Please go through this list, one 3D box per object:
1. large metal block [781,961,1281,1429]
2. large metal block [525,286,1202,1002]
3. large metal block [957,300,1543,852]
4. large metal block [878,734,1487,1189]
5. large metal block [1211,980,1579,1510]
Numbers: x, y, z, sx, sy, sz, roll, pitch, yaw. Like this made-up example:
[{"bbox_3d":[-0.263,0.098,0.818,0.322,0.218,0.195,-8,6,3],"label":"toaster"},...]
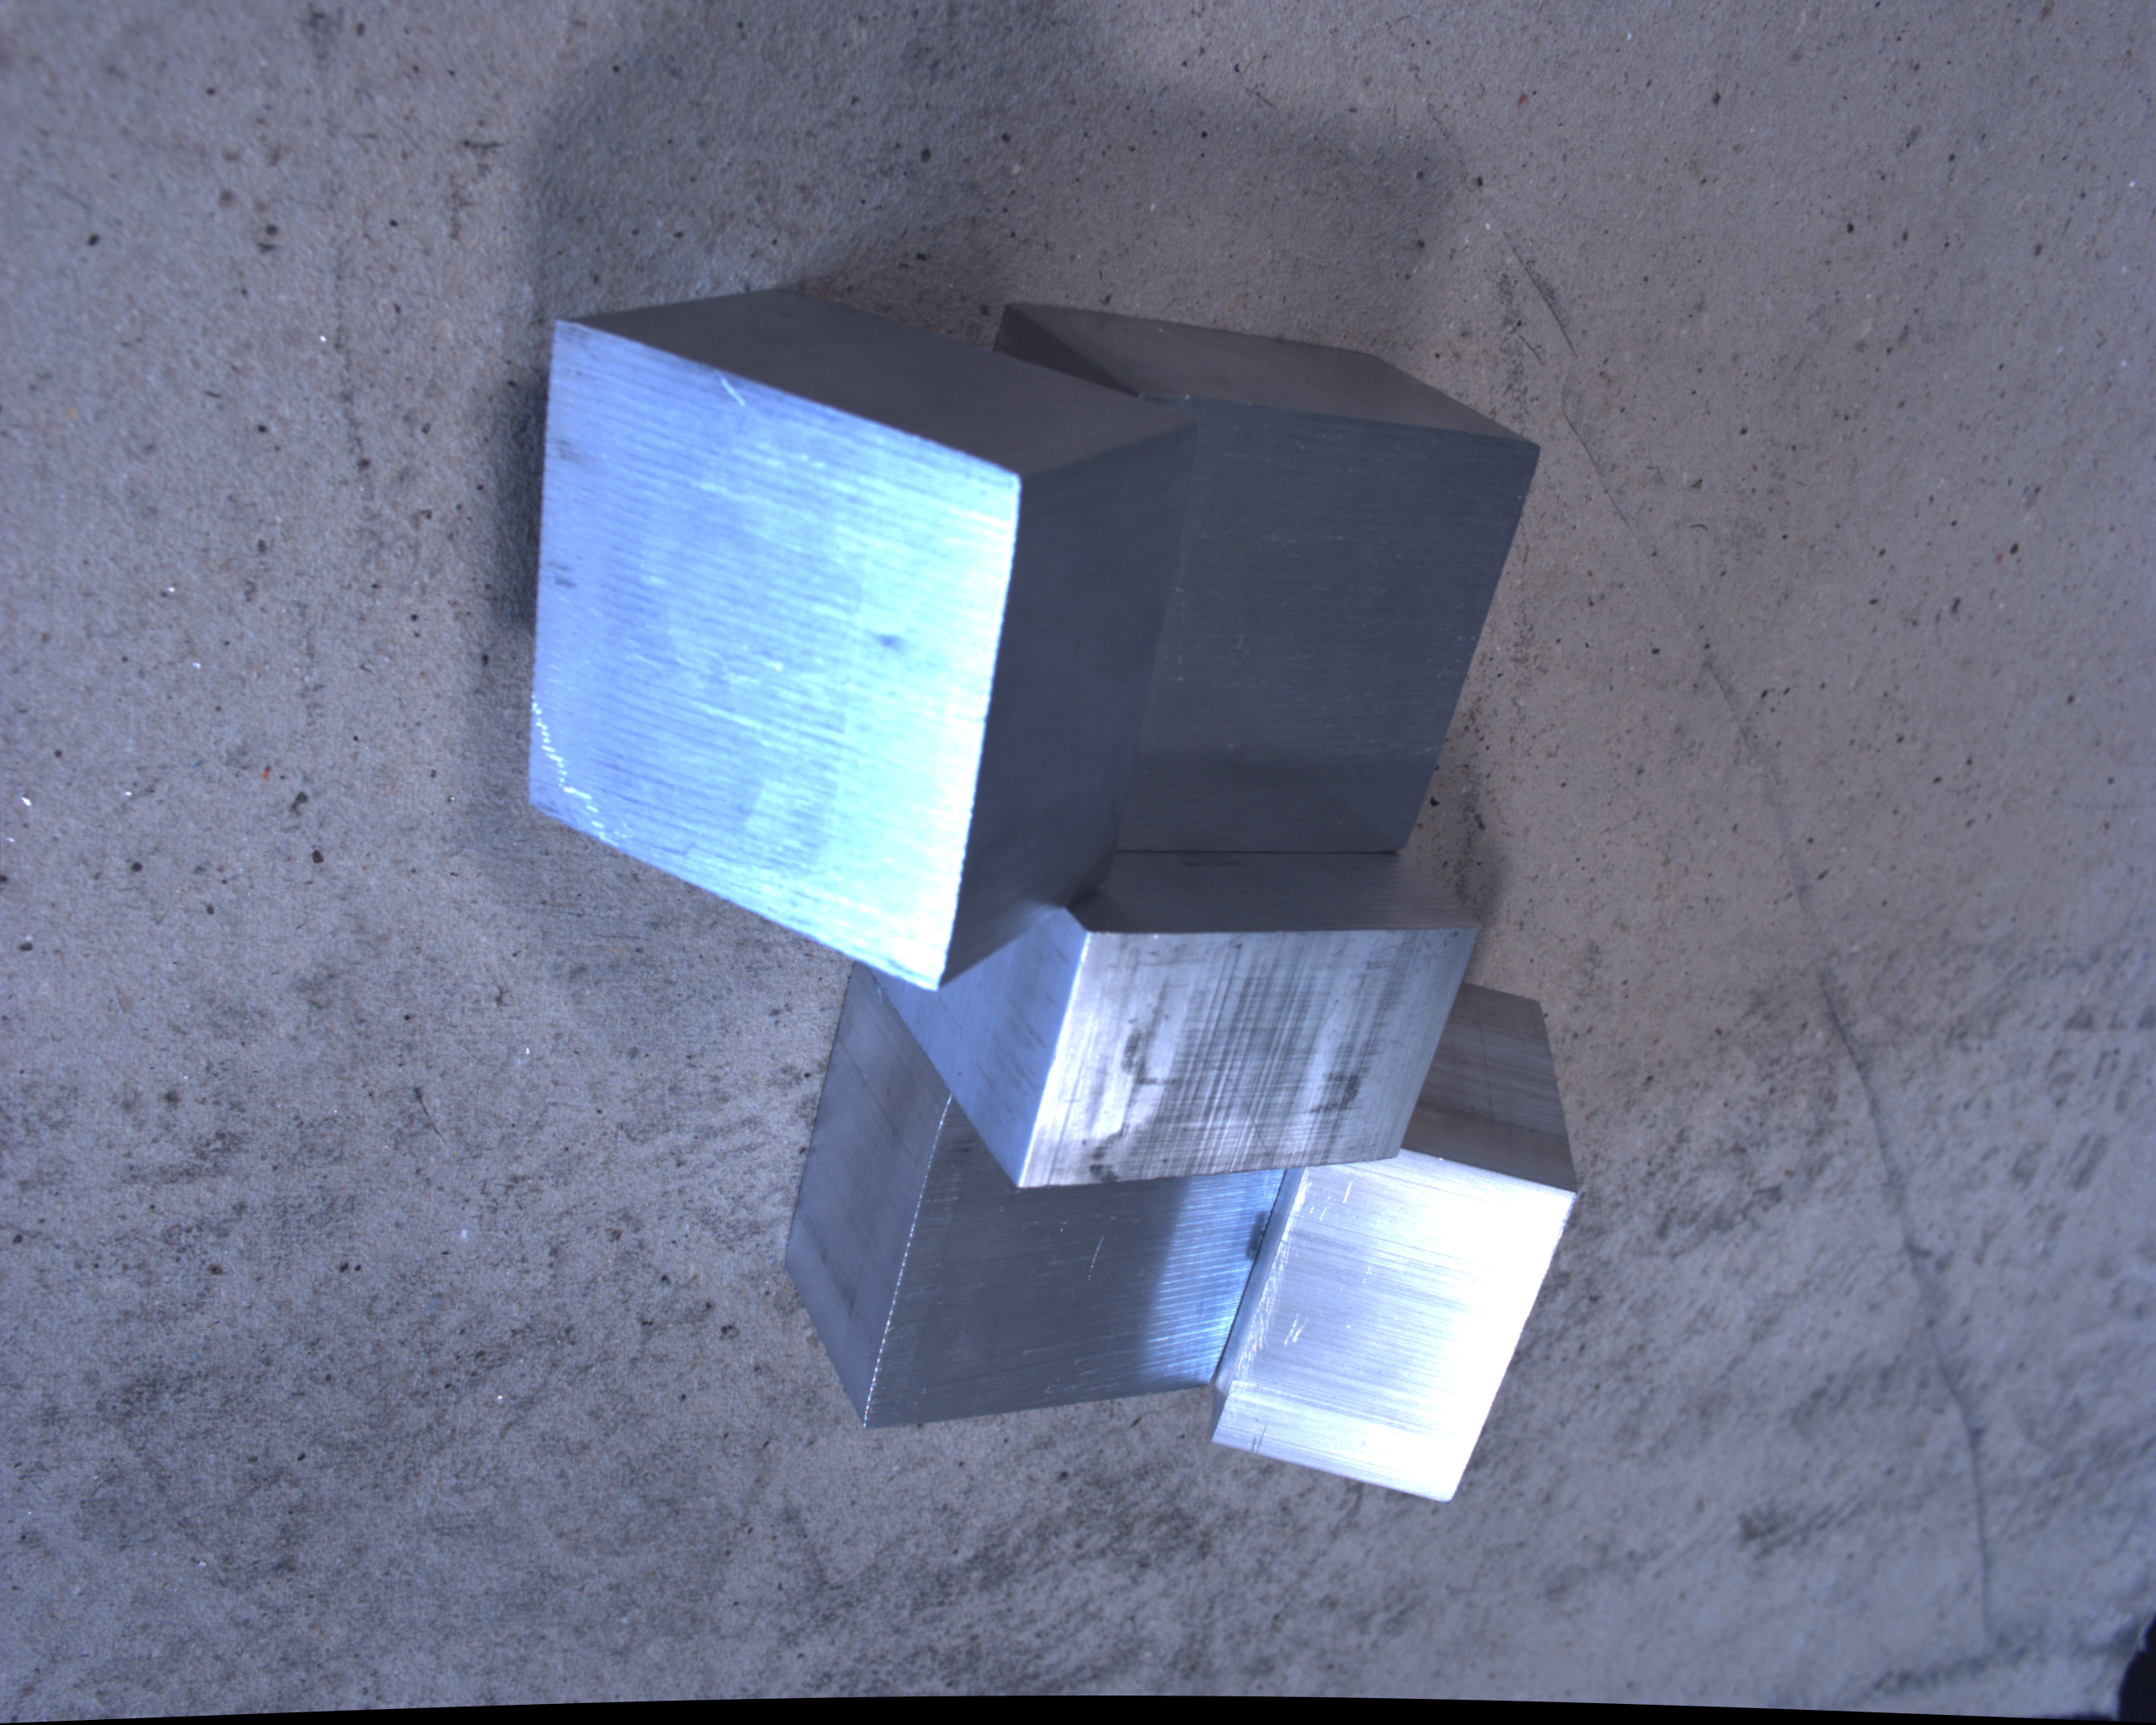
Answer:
[{"bbox_3d":[-0.008,0.064,0.427,0.081,0.050,0.079,1,119,-29],"label":"large metal block"},{"bbox_3d":[-0.035,-0.037,0.321,0.050,0.080,0.079,-32,139,-54],"label":"large metal block"},{"bbox_3d":[0.024,-0.049,0.373,0.081,0.050,0.079,1,118,-28],"label":"large metal block"},{"bbox_3d":[0.014,0.014,0.389,0.081,0.080,0.050,0,118,-29],"label":"large metal block"},{"bbox_3d":[0.065,0.075,0.445,0.050,0.080,0.079,15,115,0],"label":"large metal block"}]
